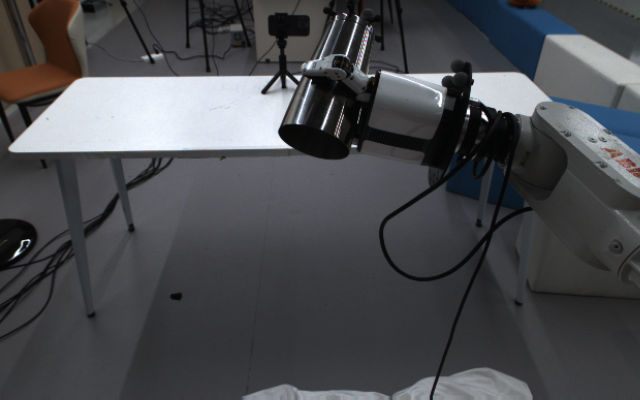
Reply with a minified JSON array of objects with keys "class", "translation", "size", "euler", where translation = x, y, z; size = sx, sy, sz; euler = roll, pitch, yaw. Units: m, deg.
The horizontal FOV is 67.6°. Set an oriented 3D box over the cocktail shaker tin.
[{"class":"cocktail shaker tin","translation":[0.018,-0.147,0.618],"size":[0.093,0.093,0.170],"euler":[13,74,15]}]
